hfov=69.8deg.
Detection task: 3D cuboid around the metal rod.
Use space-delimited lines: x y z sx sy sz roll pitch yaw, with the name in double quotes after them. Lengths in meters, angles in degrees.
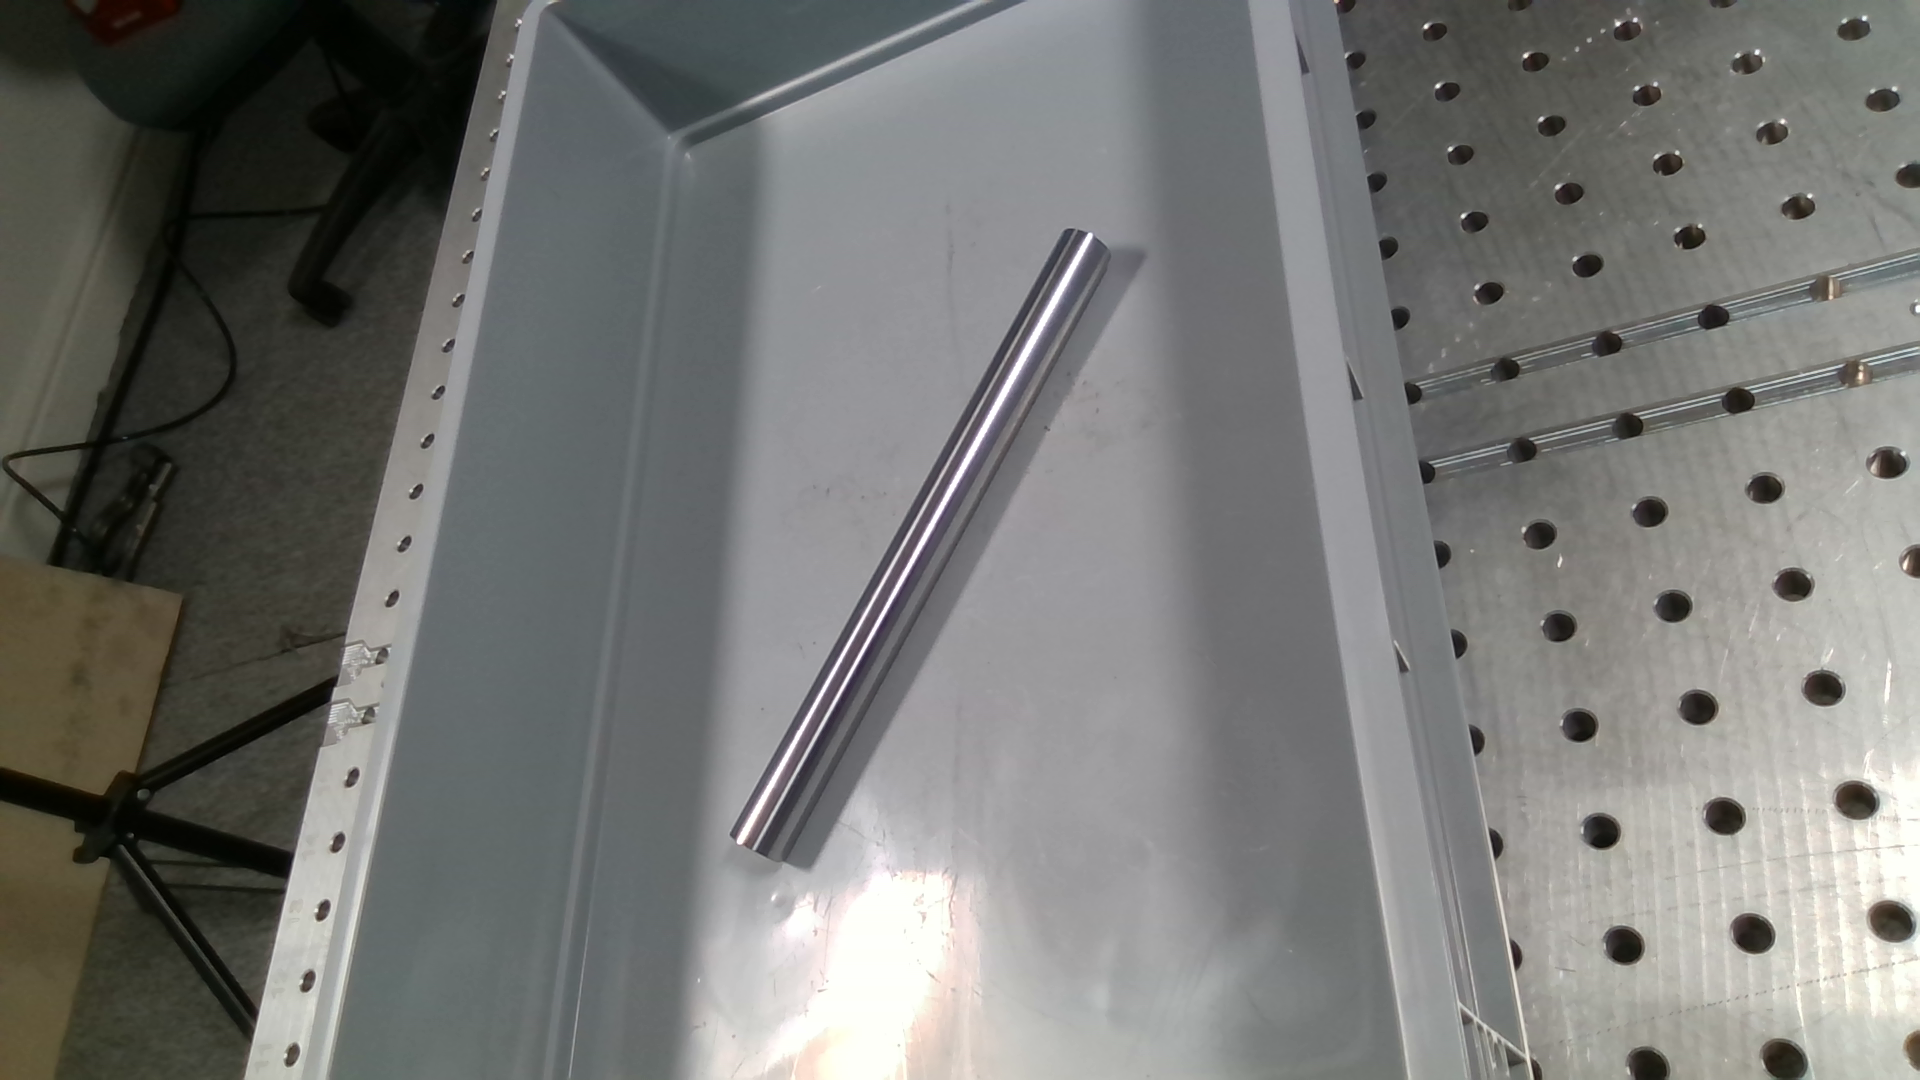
-0.014 -0.003 0.593 0.025 0.025 0.300 21 78 37 "metal rod"
